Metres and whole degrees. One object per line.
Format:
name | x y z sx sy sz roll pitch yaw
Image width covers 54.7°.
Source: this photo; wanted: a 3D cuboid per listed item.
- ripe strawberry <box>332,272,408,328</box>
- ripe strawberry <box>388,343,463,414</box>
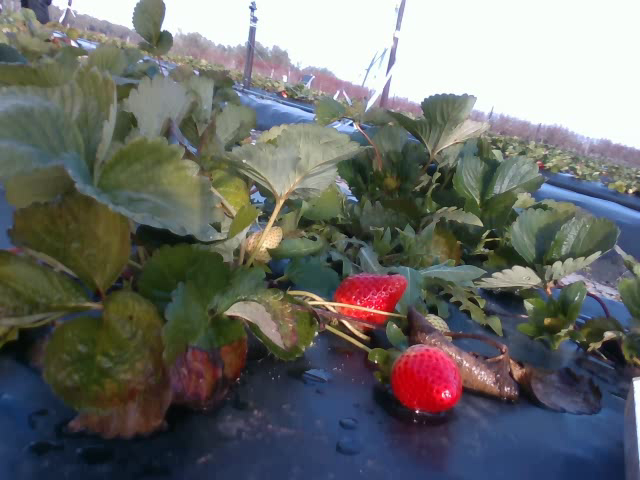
ripe strawberry | 0.029 0.028 0.351 0.048 0.032 0.039 -34 10 18
ripe strawberry | 0.048 0.062 0.269 0.035 0.029 0.043 1 16 -14
